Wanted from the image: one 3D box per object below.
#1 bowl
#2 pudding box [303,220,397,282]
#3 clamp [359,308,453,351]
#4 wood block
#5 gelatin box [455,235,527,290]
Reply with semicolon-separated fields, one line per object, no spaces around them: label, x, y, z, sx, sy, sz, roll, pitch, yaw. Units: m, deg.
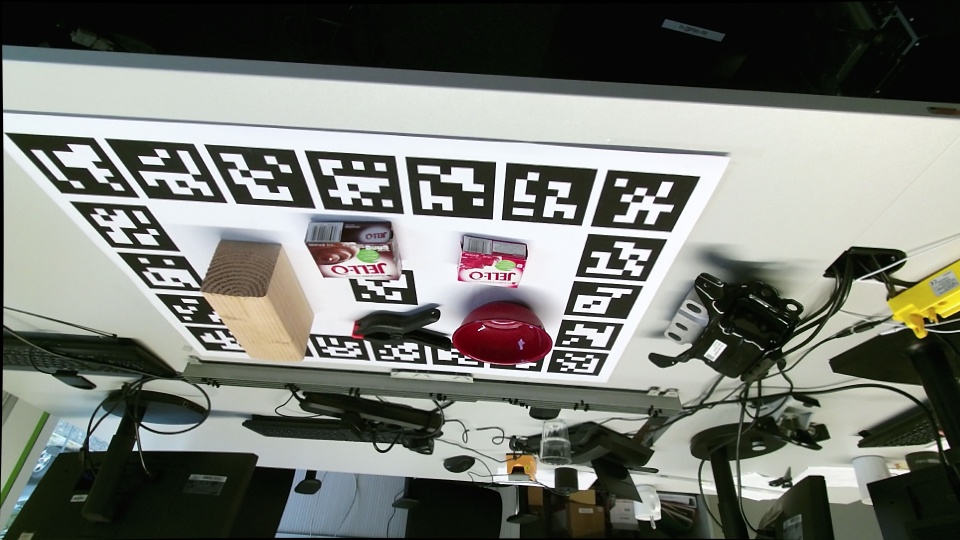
bowl;0.035;0.099;0.870;0.162;0.055;0.162;3;141;3
pudding box;-0.173;-0.025;0.729;0.114;0.038;0.090;1;140;0
clamp;-0.127;0.106;0.914;0.166;0.036;0.122;-2;143;11
wood block;-0.336;0.056;0.810;0.090;0.090;0.206;6;143;0
gelatin box;0.013;-0.008;0.736;0.090;0.030;0.073;8;142;-5
